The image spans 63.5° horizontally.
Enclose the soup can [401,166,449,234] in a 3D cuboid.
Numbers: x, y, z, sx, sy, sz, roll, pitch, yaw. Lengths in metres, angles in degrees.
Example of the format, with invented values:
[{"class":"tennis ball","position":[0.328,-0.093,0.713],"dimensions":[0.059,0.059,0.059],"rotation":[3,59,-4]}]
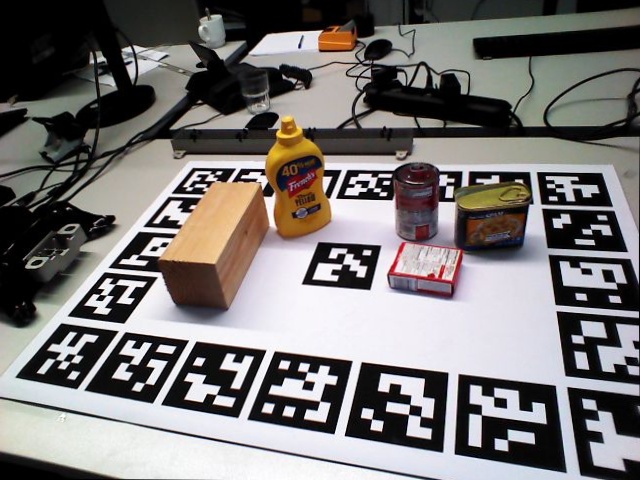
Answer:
[{"class":"soup can","position":[0.159,-0.068,0.777],"dimensions":[0.068,0.102,0.067],"rotation":[-7,38,5]}]

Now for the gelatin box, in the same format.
[{"class":"gelatin box","position":[0.157,0.036,0.708],"dimensions":[0.090,0.030,0.073],"rotation":[7,42,26]}]

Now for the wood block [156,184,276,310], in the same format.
[{"class":"wood block","position":[-0.147,0.002,0.784],"dimensions":[0.091,0.090,0.205],"rotation":[4,35,16]}]

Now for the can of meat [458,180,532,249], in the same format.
[{"class":"can of meat","position":[0.251,-0.036,0.743],"dimensions":[0.102,0.084,0.057],"rotation":[-5,38,3]}]

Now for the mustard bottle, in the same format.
[{"class":"mustard bottle","position":[-0.034,-0.095,0.807],"dimensions":[0.096,0.192,0.058],"rotation":[-13,36,-5]}]
